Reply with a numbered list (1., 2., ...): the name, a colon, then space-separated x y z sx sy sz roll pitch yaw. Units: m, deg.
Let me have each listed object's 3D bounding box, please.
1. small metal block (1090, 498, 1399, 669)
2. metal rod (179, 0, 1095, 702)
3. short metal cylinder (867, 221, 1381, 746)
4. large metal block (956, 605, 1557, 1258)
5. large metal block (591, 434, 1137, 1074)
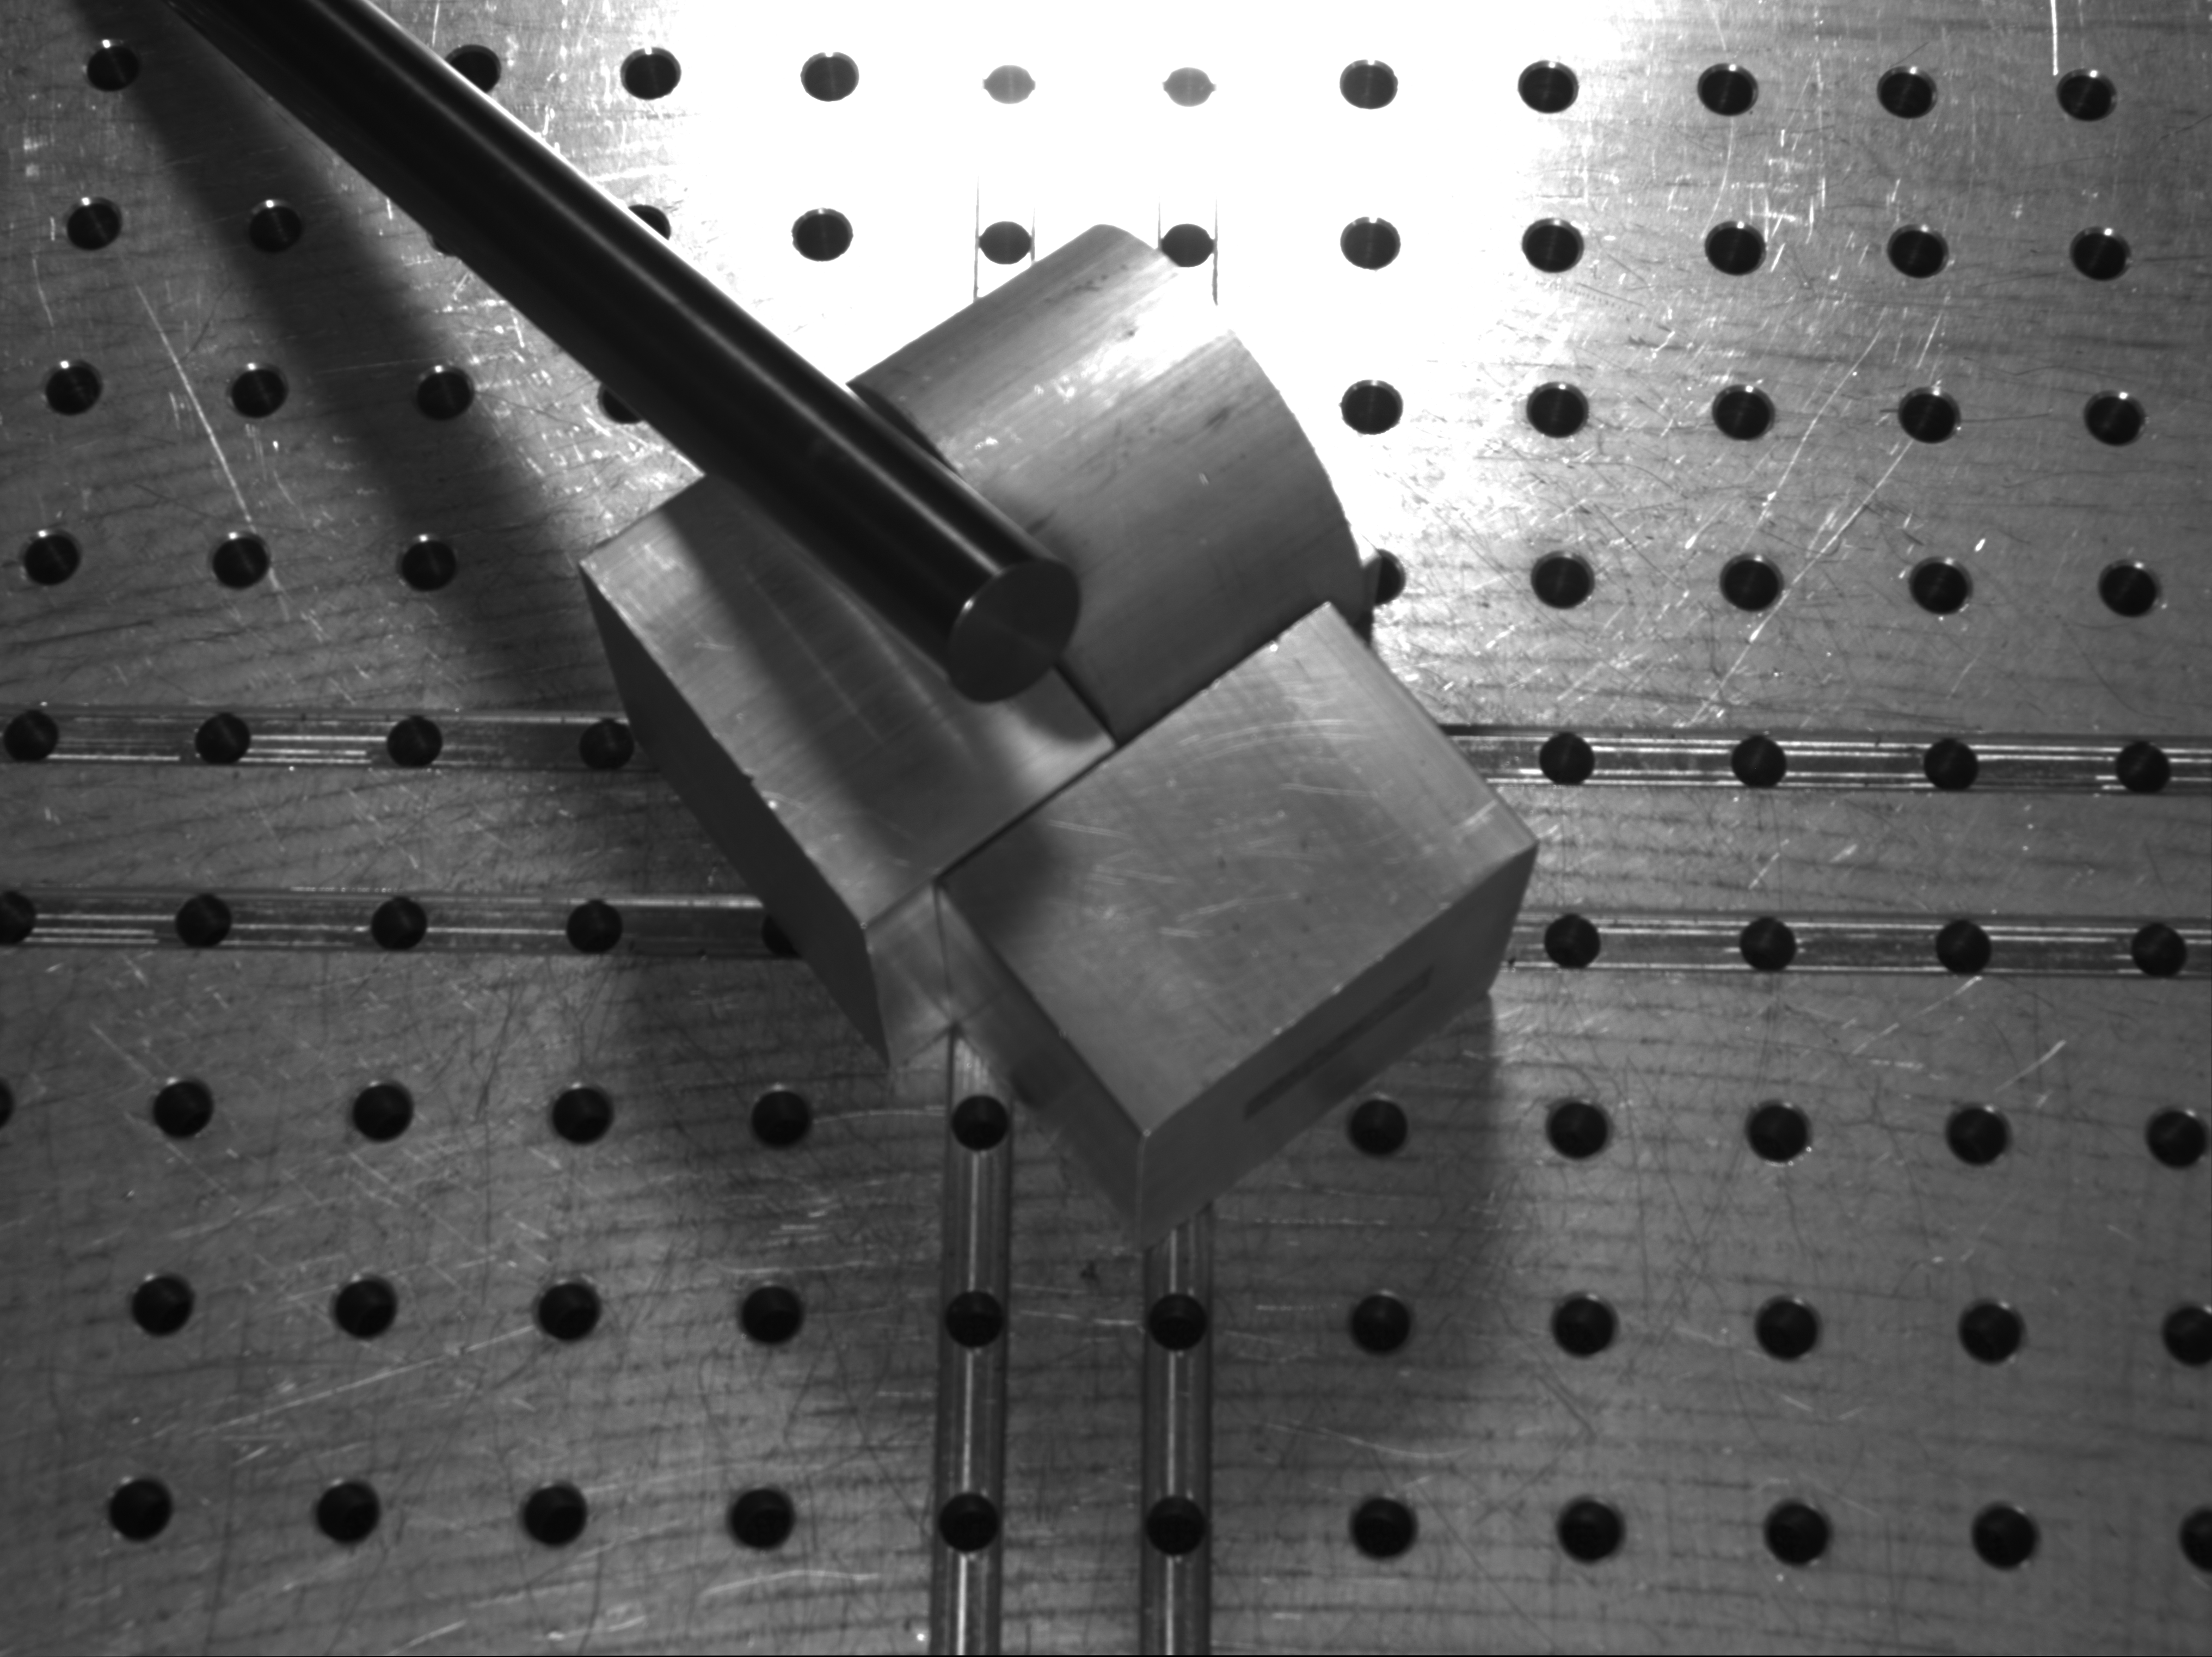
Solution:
1. small metal block: 0.017 -0.046 0.665 0.050 0.025 0.050 -40 75 -13
2. metal rod: -0.103 -0.109 0.632 0.025 0.025 0.299 -39 53 -13
3. short metal cylinder: 0.001 -0.053 0.611 0.050 0.080 0.080 -35 73 -12
4. large metal block: 0.024 0.019 0.609 0.080 0.080 0.050 -36 74 -12
5. large metal block: -0.039 -0.014 0.624 0.050 0.080 0.080 -36 74 -12
